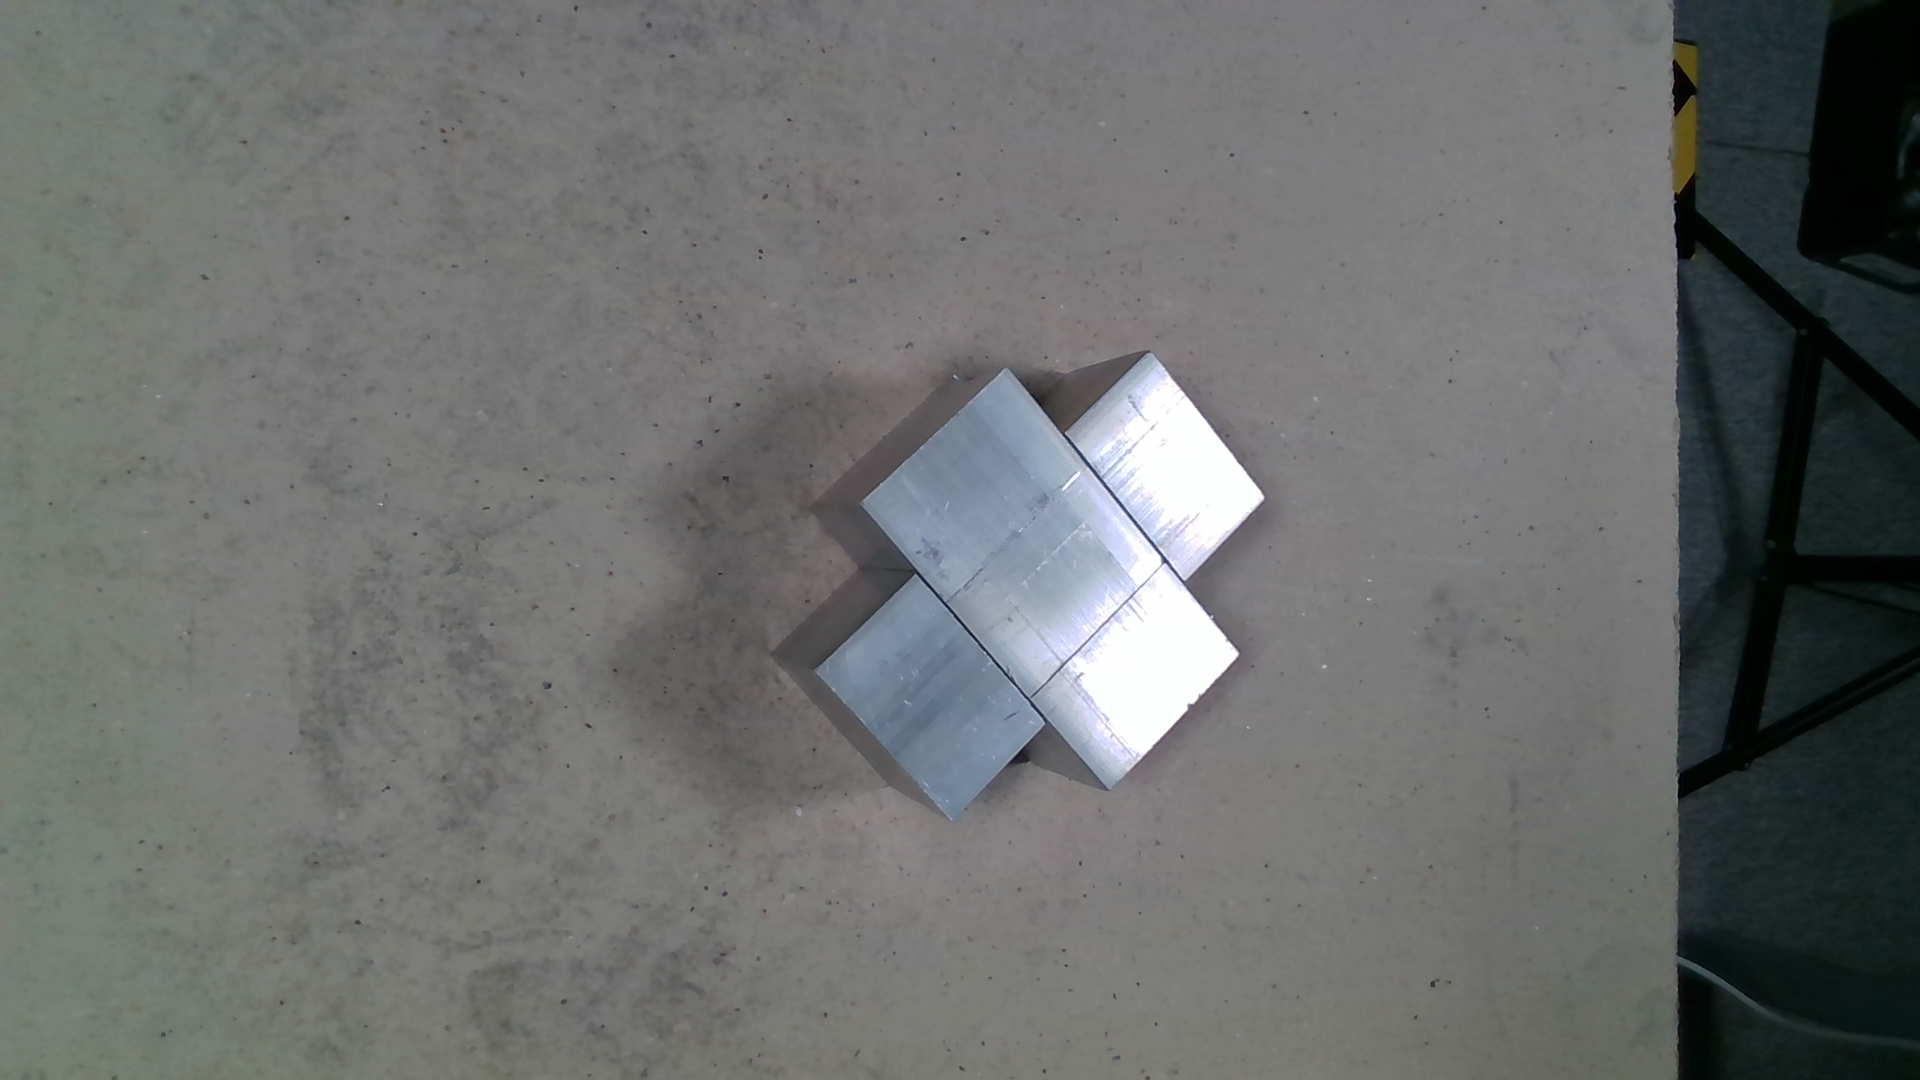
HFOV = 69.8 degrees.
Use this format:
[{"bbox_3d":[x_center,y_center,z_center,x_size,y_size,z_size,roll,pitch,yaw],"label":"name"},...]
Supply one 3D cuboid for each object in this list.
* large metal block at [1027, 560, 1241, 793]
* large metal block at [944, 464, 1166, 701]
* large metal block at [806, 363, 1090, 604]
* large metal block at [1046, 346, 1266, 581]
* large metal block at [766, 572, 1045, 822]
[{"bbox_3d":[0.056,0.053,0.578,0.080,0.080,0.050,-44,104,-15],"label":"large metal block"},{"bbox_3d":[0.024,0.016,0.566,0.080,0.080,0.050,-44,104,-15],"label":"large metal block"},{"bbox_3d":[-0.007,-0.022,0.555,0.080,0.080,0.050,-44,104,-15],"label":"large metal block"},{"bbox_3d":[0.068,-0.030,0.582,0.050,0.080,0.080,-44,104,-15],"label":"large metal block"},{"bbox_3d":[-0.024,0.059,0.549,0.050,0.080,0.080,-44,104,-15],"label":"large metal block"}]
